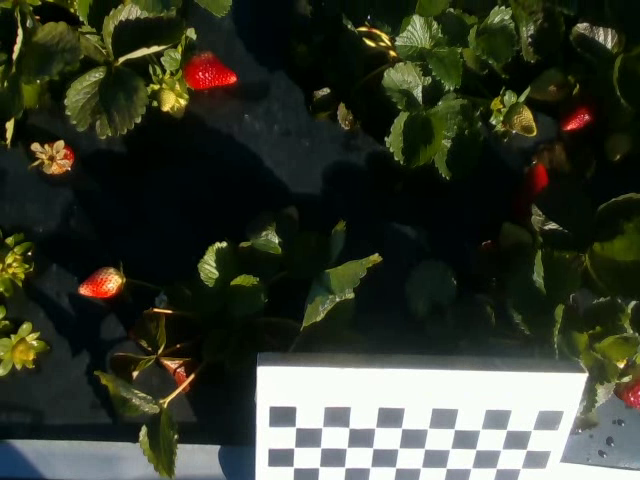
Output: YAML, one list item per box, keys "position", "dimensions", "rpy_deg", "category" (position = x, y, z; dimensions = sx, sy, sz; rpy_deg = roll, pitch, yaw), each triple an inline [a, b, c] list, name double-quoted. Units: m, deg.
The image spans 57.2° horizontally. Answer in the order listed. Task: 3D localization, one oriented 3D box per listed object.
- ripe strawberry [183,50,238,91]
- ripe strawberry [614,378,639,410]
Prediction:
- position: [-0.112, -0.173, 0.604]
  dimensions: [0.064, 0.049, 0.052]
  rpy_deg: [13, 27, 1]
  category: "ripe strawberry"
- position: [0.326, 0.158, 0.601]
  dimensions: [0.048, 0.055, 0.029]
  rpy_deg: [-39, 22, 17]
  category: "ripe strawberry"
